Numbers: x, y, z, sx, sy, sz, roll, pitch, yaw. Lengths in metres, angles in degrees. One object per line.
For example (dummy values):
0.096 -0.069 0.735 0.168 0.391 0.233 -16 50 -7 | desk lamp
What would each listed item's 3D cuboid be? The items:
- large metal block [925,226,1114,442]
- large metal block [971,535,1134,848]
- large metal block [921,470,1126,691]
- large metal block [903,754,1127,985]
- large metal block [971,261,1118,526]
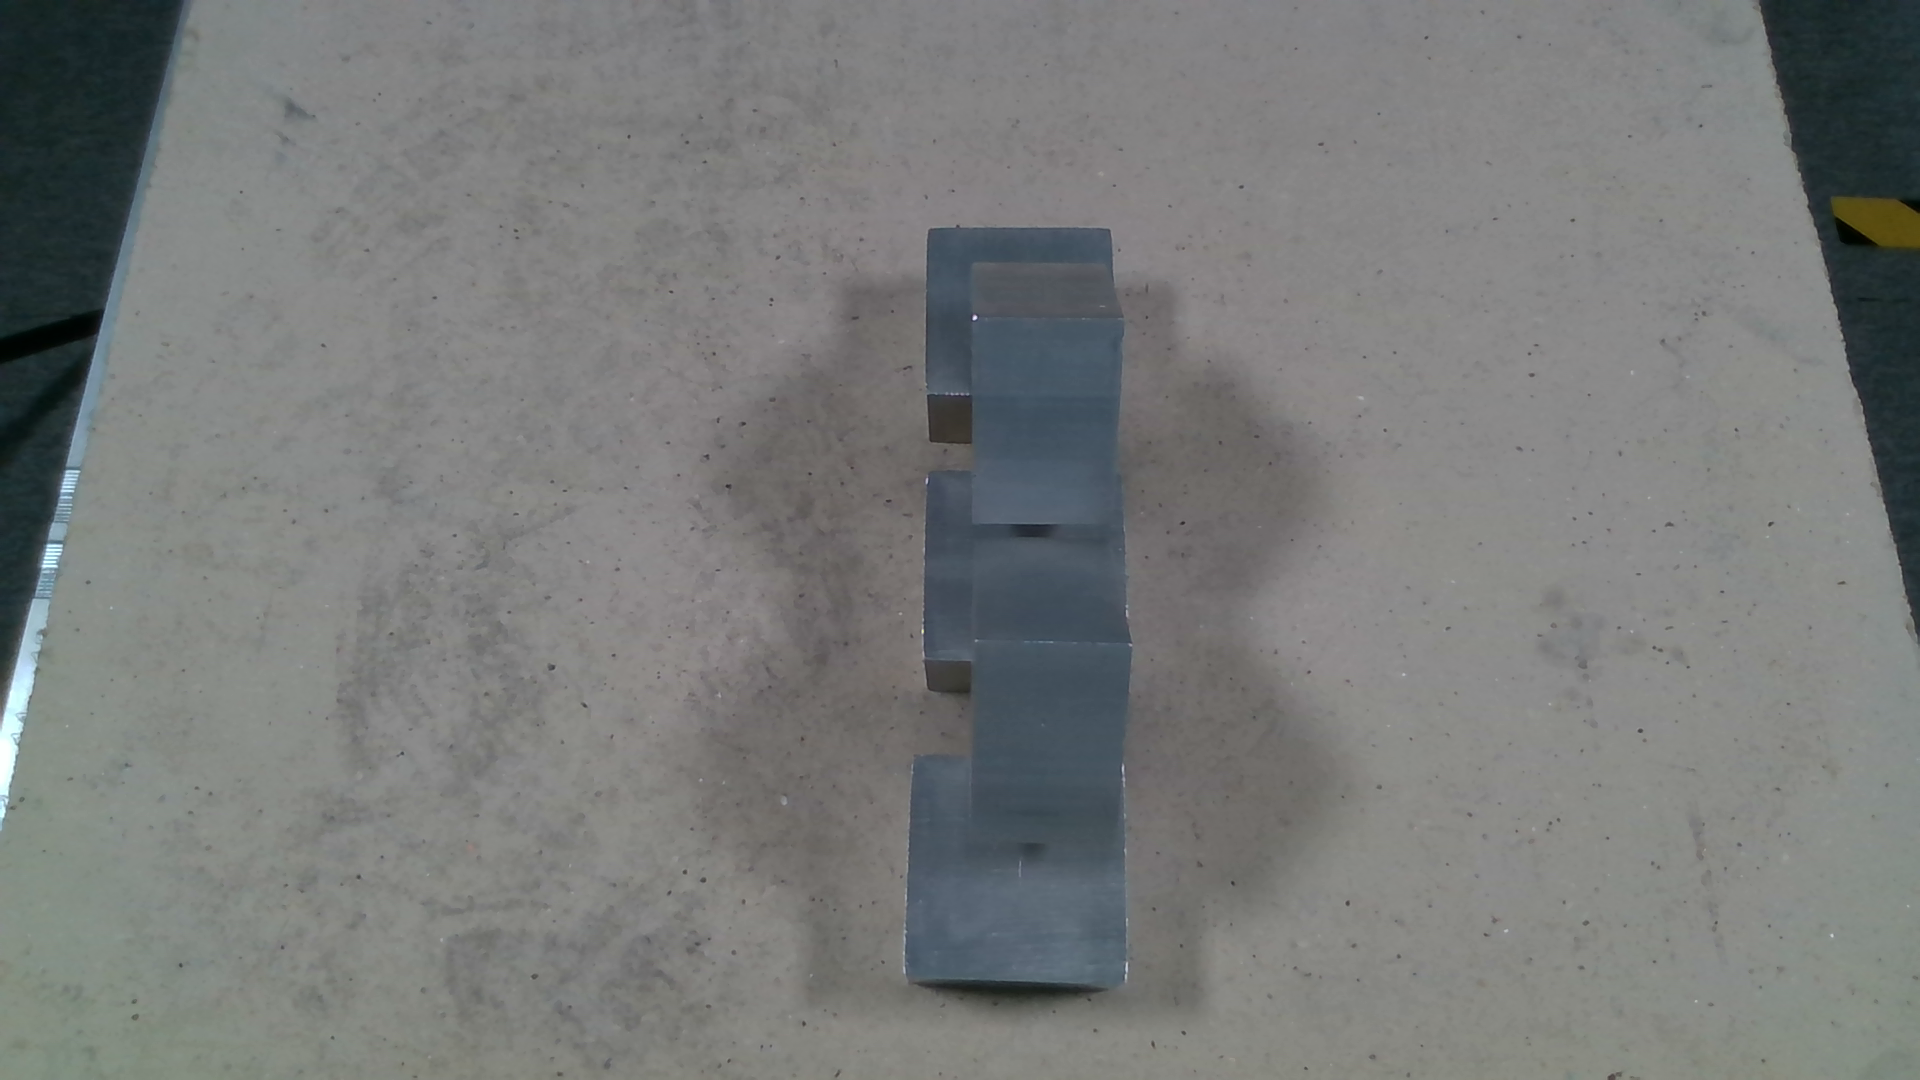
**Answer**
0.026 -0.090 0.607 0.080 0.050 0.080 0 70 0 | large metal block
0.030 0.052 0.490 0.050 0.080 0.080 1 26 0 | large metal block
0.026 0.018 0.569 0.080 0.050 0.080 1 70 0 | large metal block
0.021 0.128 0.530 0.080 0.050 0.080 1 70 0 | large metal block
0.030 -0.058 0.527 0.050 0.080 0.080 -1 115 0 | large metal block
